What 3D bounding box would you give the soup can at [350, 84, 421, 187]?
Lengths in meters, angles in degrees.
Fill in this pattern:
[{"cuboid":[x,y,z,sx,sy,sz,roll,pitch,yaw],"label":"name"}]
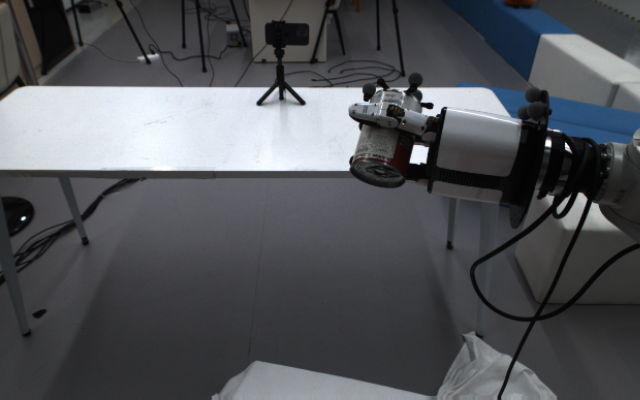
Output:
[{"cuboid":[0.081,-0.077,0.591,0.067,0.067,0.101,12,70,14],"label":"soup can"}]
